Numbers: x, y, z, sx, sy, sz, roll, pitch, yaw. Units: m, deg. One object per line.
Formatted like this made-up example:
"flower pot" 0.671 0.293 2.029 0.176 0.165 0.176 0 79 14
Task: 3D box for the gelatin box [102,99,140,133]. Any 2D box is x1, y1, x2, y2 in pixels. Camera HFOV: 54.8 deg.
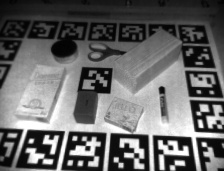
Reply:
"gelatin box" 0.026 0.085 0.615 0.089 0.030 0.073 19 61 14

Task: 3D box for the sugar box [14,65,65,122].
"sugar box" -0.214 0.020 0.655 0.092 0.045 0.176 7 58 5

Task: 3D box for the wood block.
"wood block" 0.110 -0.073 0.682 0.207 0.091 0.089 -37 62 -21

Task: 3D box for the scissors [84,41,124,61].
"scissors" 0.000 -0.113 0.750 0.202 0.016 0.087 8 58 9

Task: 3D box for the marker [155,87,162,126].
"marker" 0.138 0.058 0.634 0.019 0.020 0.121 4 60 5

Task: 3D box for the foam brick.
"foam brick" -0.078 0.065 0.613 0.052 0.051 0.078 4 58 5

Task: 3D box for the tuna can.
"tuna can" -0.173 -0.120 0.745 0.086 0.034 0.085 0 58 2
